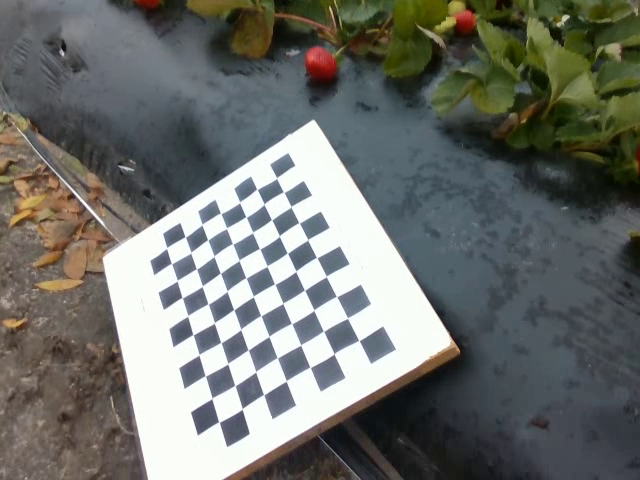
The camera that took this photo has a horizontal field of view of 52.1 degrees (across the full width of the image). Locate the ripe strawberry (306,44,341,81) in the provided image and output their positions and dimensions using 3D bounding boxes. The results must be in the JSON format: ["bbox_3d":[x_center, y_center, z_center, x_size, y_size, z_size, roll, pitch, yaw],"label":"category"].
[{"bbox_3d":[-0.005,-0.228,0.817,0.045,0.048,0.053,-1,14,30],"label":"ripe strawberry"}]
